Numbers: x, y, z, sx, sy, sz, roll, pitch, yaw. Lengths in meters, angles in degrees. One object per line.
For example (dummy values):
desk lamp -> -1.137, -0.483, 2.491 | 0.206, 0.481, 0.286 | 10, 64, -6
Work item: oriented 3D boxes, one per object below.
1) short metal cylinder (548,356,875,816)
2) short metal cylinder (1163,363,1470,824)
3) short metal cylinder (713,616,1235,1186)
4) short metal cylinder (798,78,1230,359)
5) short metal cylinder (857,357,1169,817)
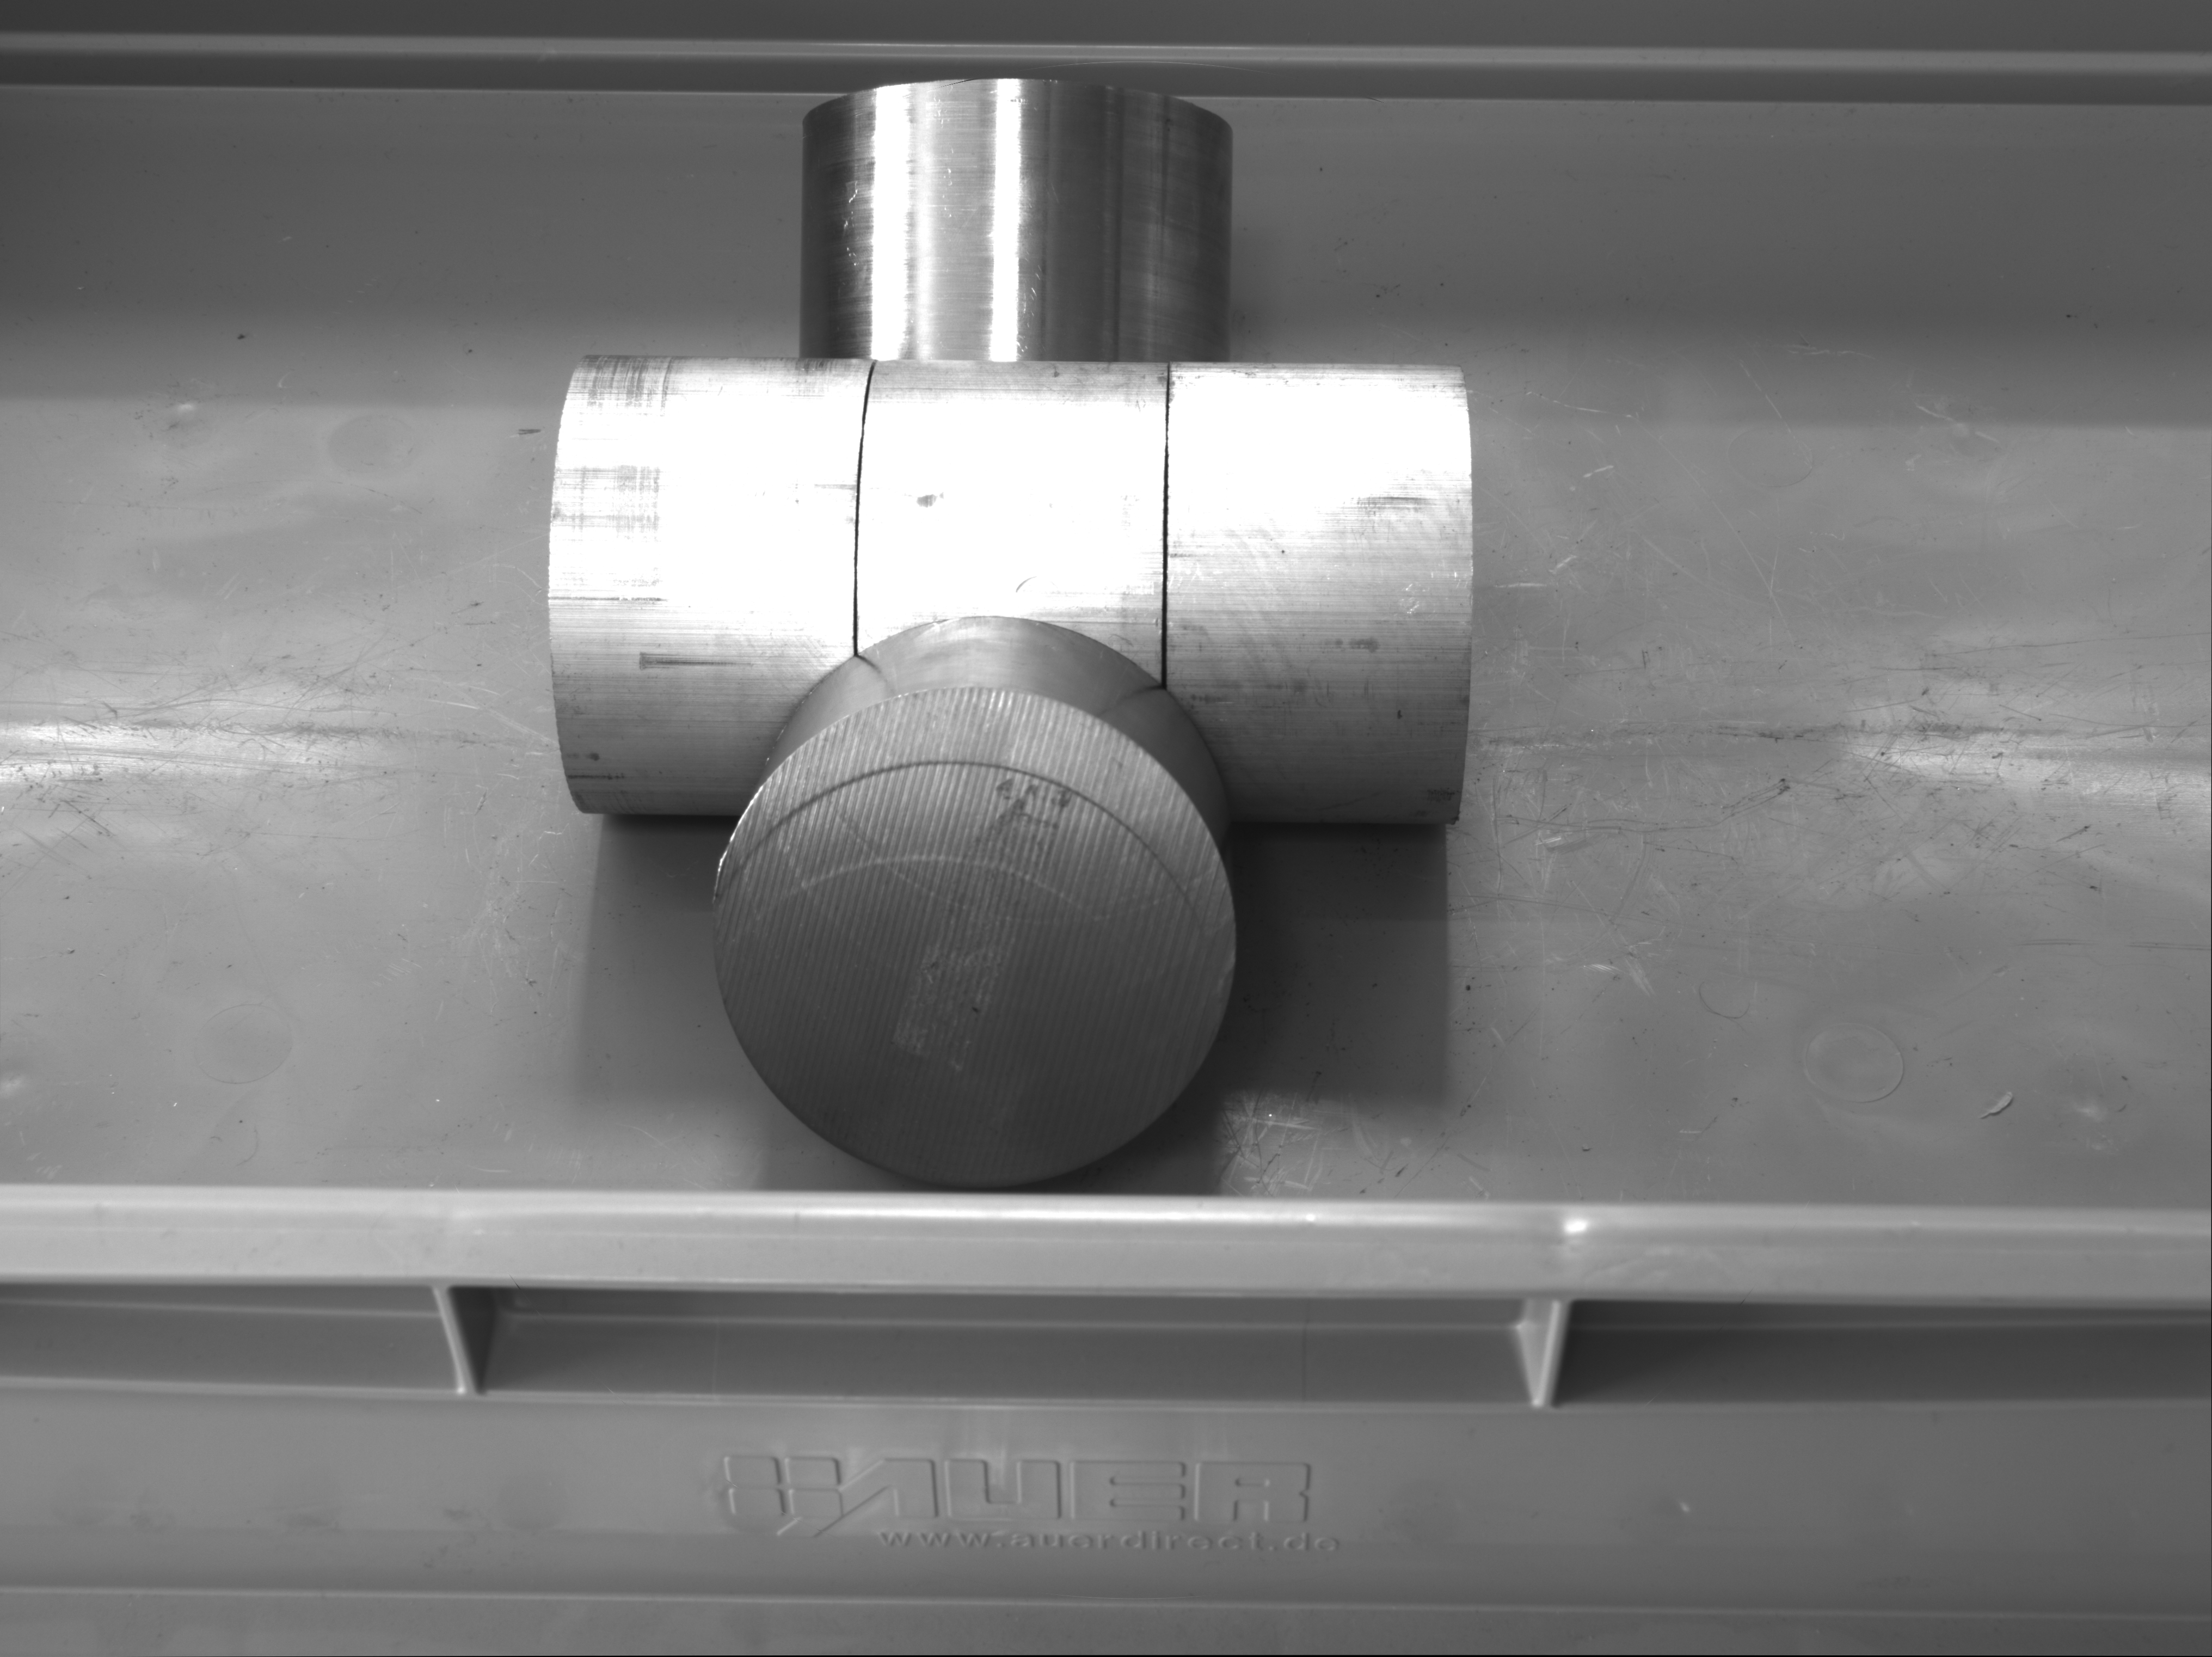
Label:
short metal cylinder -> -0.065, -0.042, 0.640 | 0.050, 0.080, 0.080 | 1, 50, 1
short metal cylinder -> 0.036, -0.041, 0.639 | 0.050, 0.080, 0.080 | 1, 50, 1
short metal cylinder -> -0.020, 0.011, 0.586 | 0.080, 0.080, 0.050 | 0, 16, 0
short metal cylinder -> -0.017, -0.105, 0.683 | 0.080, 0.080, 0.050 | 1, 88, 1
short metal cylinder -> -0.015, -0.042, 0.639 | 0.050, 0.080, 0.080 | 1, 50, 1
